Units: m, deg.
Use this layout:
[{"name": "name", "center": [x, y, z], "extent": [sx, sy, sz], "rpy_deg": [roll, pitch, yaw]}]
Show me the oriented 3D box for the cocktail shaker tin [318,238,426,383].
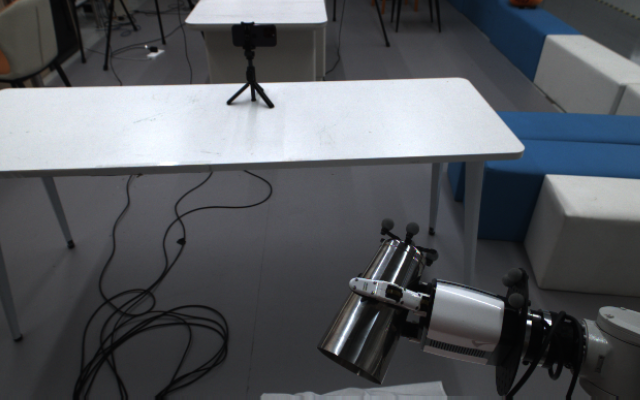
[{"name": "cocktail shaker tin", "center": [0.076, 0.136, 0.634], "extent": [0.093, 0.093, 0.170], "rpy_deg": [20, 67, 24]}]
